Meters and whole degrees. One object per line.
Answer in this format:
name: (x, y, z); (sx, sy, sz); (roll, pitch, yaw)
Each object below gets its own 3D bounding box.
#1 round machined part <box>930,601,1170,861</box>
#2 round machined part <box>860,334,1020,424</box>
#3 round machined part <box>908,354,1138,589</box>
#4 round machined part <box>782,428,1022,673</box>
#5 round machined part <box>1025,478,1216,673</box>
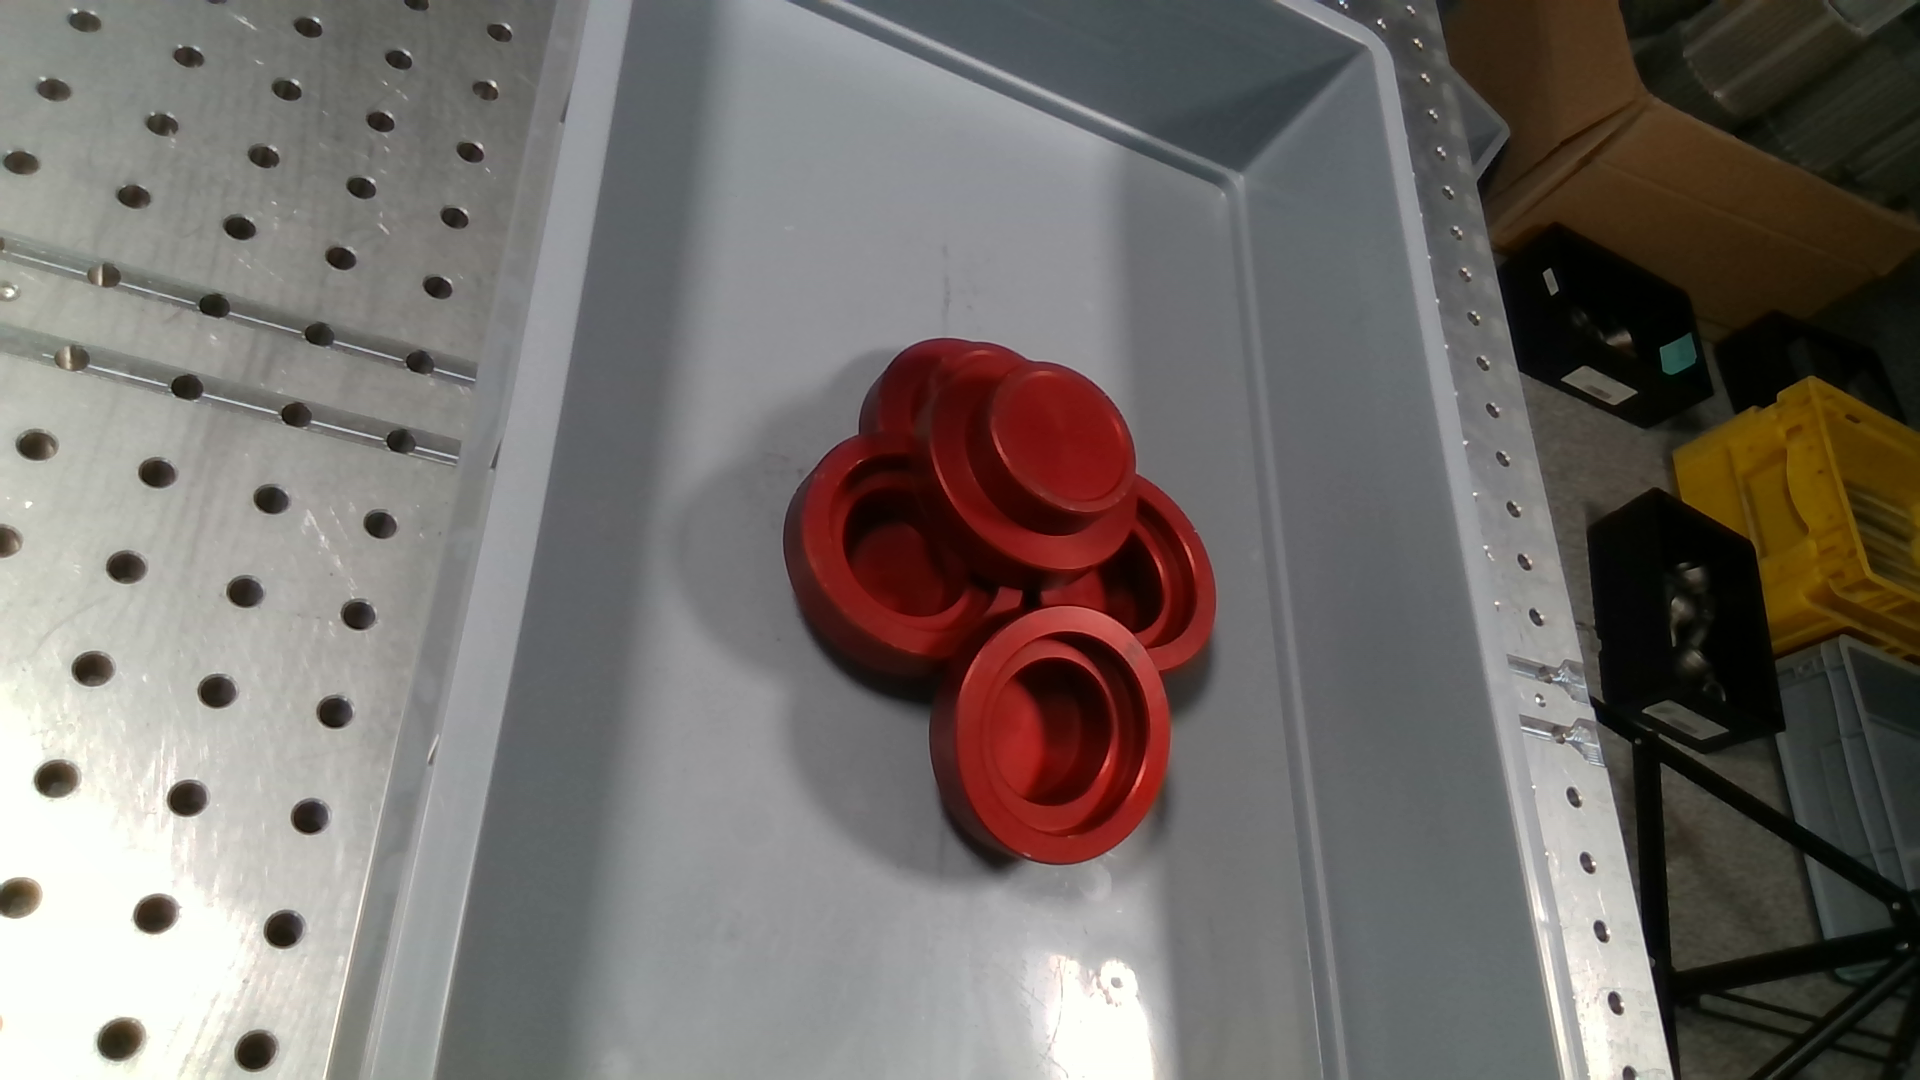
round machined part: (0.031, 0.074, 0.539); (0.098, 0.042, 0.098); (3, 84, -29)
round machined part: (0.009, -0.049, 0.603); (0.098, 0.042, 0.098); (14, 59, -25)
round machined part: (0.032, -0.033, 0.555); (0.098, 0.042, 0.098); (14, 59, -25)
round machined part: (-0.026, 0.008, 0.553); (0.098, 0.042, 0.098); (14, 59, -25)
round machined part: (0.060, 0.018, 0.601); (0.098, 0.042, 0.098); (14, 59, -25)
